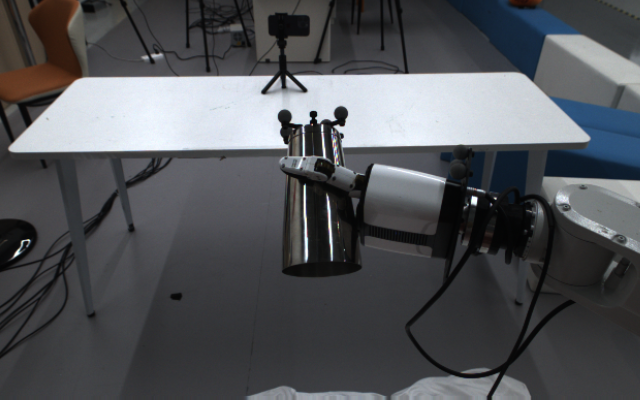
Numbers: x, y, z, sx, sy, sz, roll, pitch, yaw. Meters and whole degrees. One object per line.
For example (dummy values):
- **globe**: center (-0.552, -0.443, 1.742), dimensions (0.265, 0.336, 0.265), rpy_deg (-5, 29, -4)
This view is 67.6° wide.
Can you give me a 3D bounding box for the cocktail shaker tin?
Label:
- **cocktail shaker tin**: center (-0.003, 0.000, 0.576), dimensions (0.093, 0.093, 0.170), rpy_deg (-2, 70, -6)
